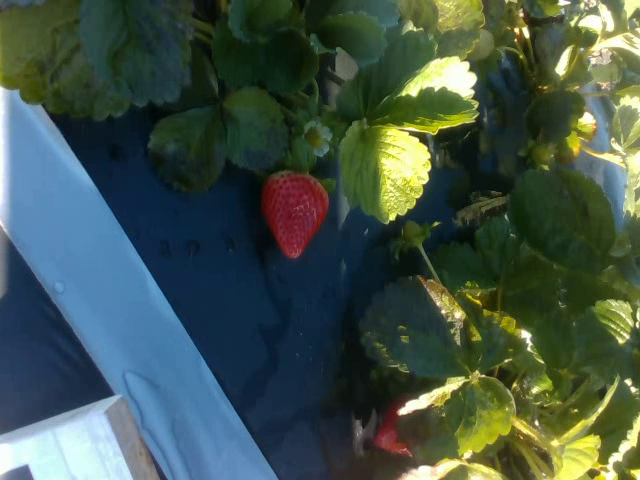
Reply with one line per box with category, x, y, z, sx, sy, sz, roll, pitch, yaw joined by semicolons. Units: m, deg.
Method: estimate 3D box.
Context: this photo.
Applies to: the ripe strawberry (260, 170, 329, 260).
ripe strawberry;-0.014;-0.014;0.353;0.045;0.058;0.042;7;-11;5
